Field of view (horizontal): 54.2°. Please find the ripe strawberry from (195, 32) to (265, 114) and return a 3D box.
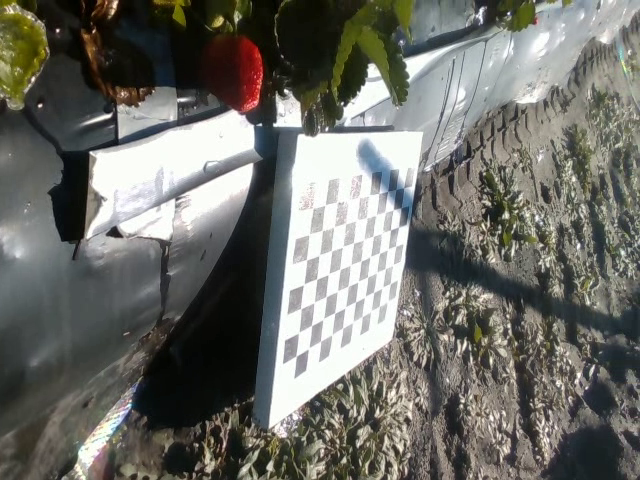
[{"bbox_3d":[-0.058,-0.115,0.466,0.057,0.065,0.062,-27,-28,8],"label":"ripe strawberry"}]
